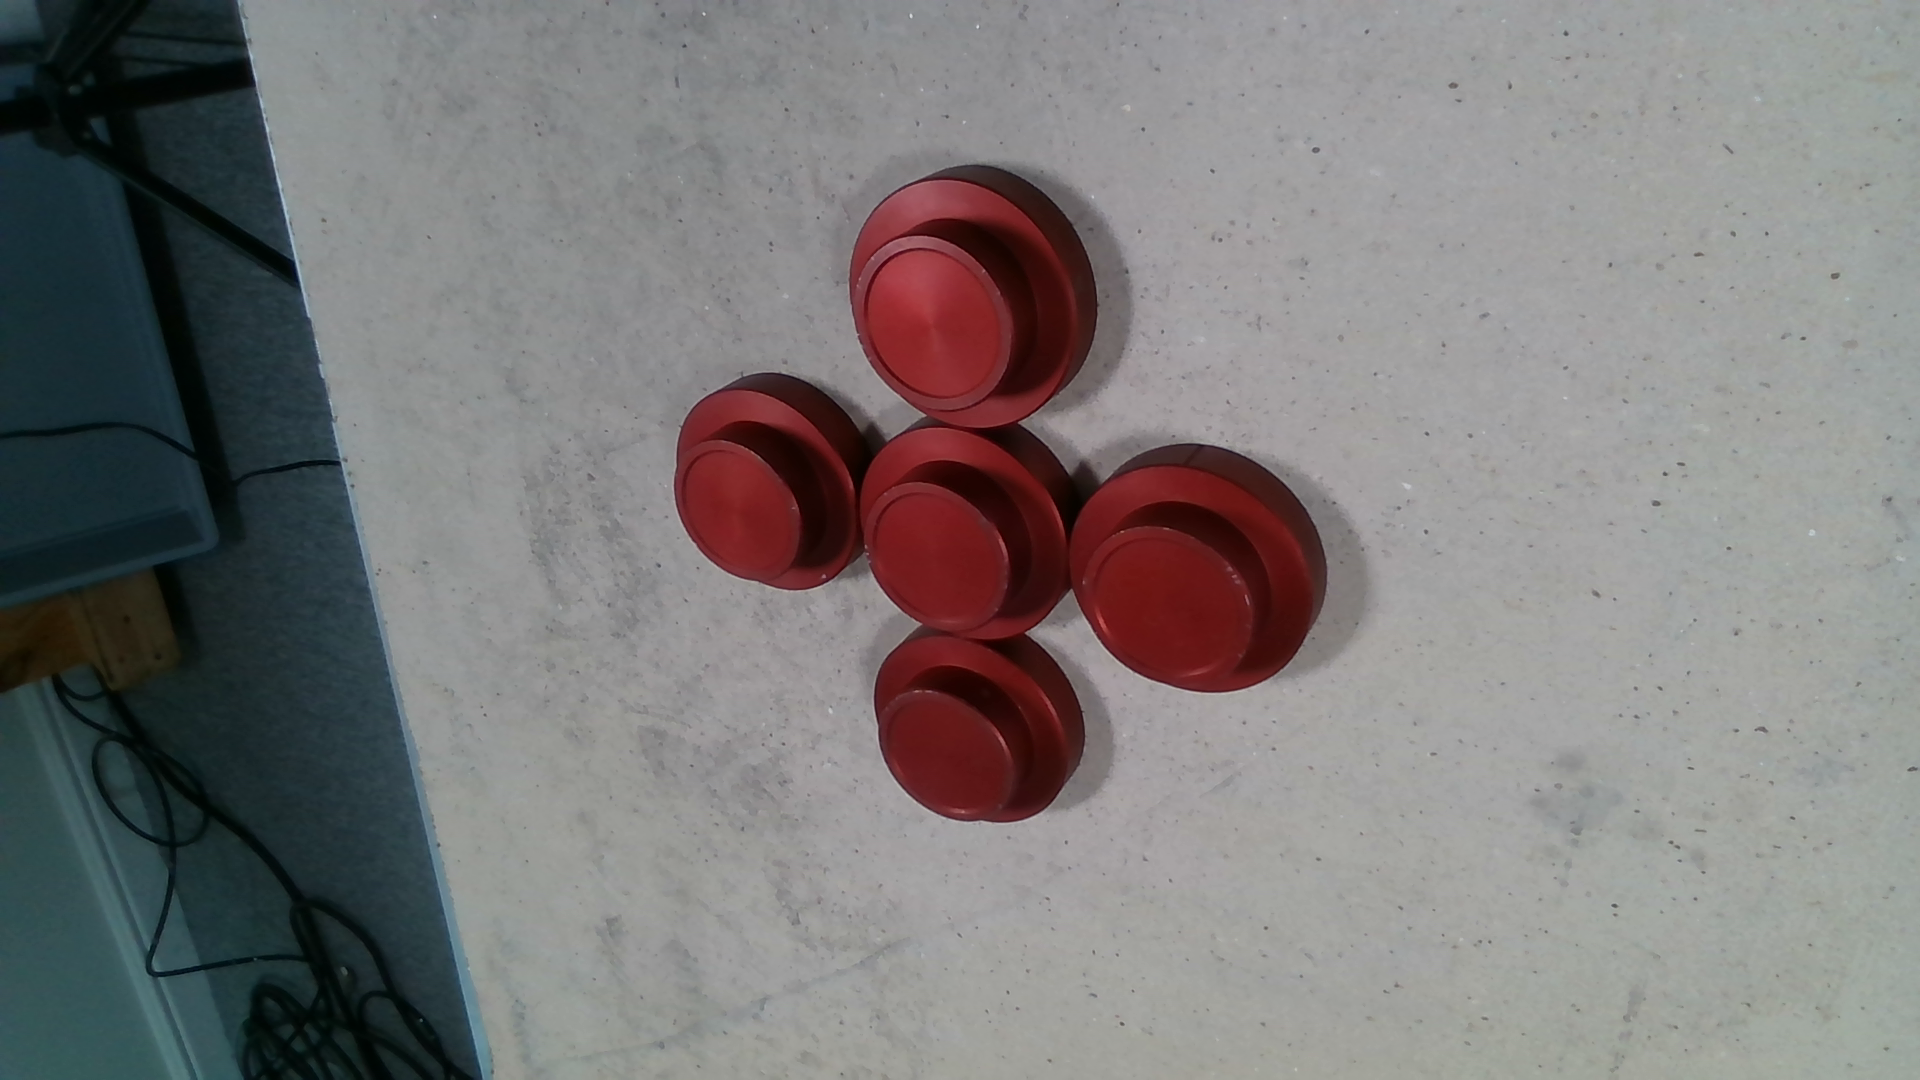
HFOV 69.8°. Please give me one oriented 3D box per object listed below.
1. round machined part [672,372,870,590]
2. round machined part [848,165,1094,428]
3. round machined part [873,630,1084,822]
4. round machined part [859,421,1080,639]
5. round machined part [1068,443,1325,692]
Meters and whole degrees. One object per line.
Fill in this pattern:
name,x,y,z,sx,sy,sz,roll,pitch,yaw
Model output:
round machined part,-0.088,-0.021,0.611,0.098,0.042,0.098,14,122,25
round machined part,-0.002,-0.088,0.522,0.098,0.042,0.098,14,122,25
round machined part,0.003,0.085,0.615,0.098,0.042,0.098,14,122,25
round machined part,-0.001,-0.002,0.569,0.098,0.042,0.098,14,122,25
round machined part,0.086,0.016,0.526,0.098,0.042,0.098,14,122,25
